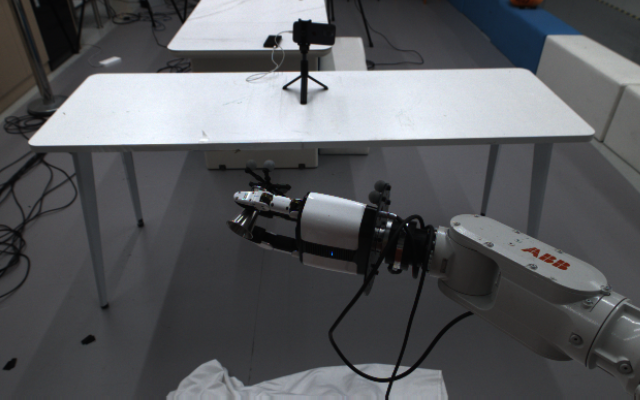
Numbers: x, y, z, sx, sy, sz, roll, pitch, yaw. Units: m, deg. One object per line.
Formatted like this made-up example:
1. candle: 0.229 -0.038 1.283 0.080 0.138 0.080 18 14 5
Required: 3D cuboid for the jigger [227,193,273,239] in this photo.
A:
1. jigger: -0.102 0.015 0.709 0.043 0.043 0.071 19 61 23
